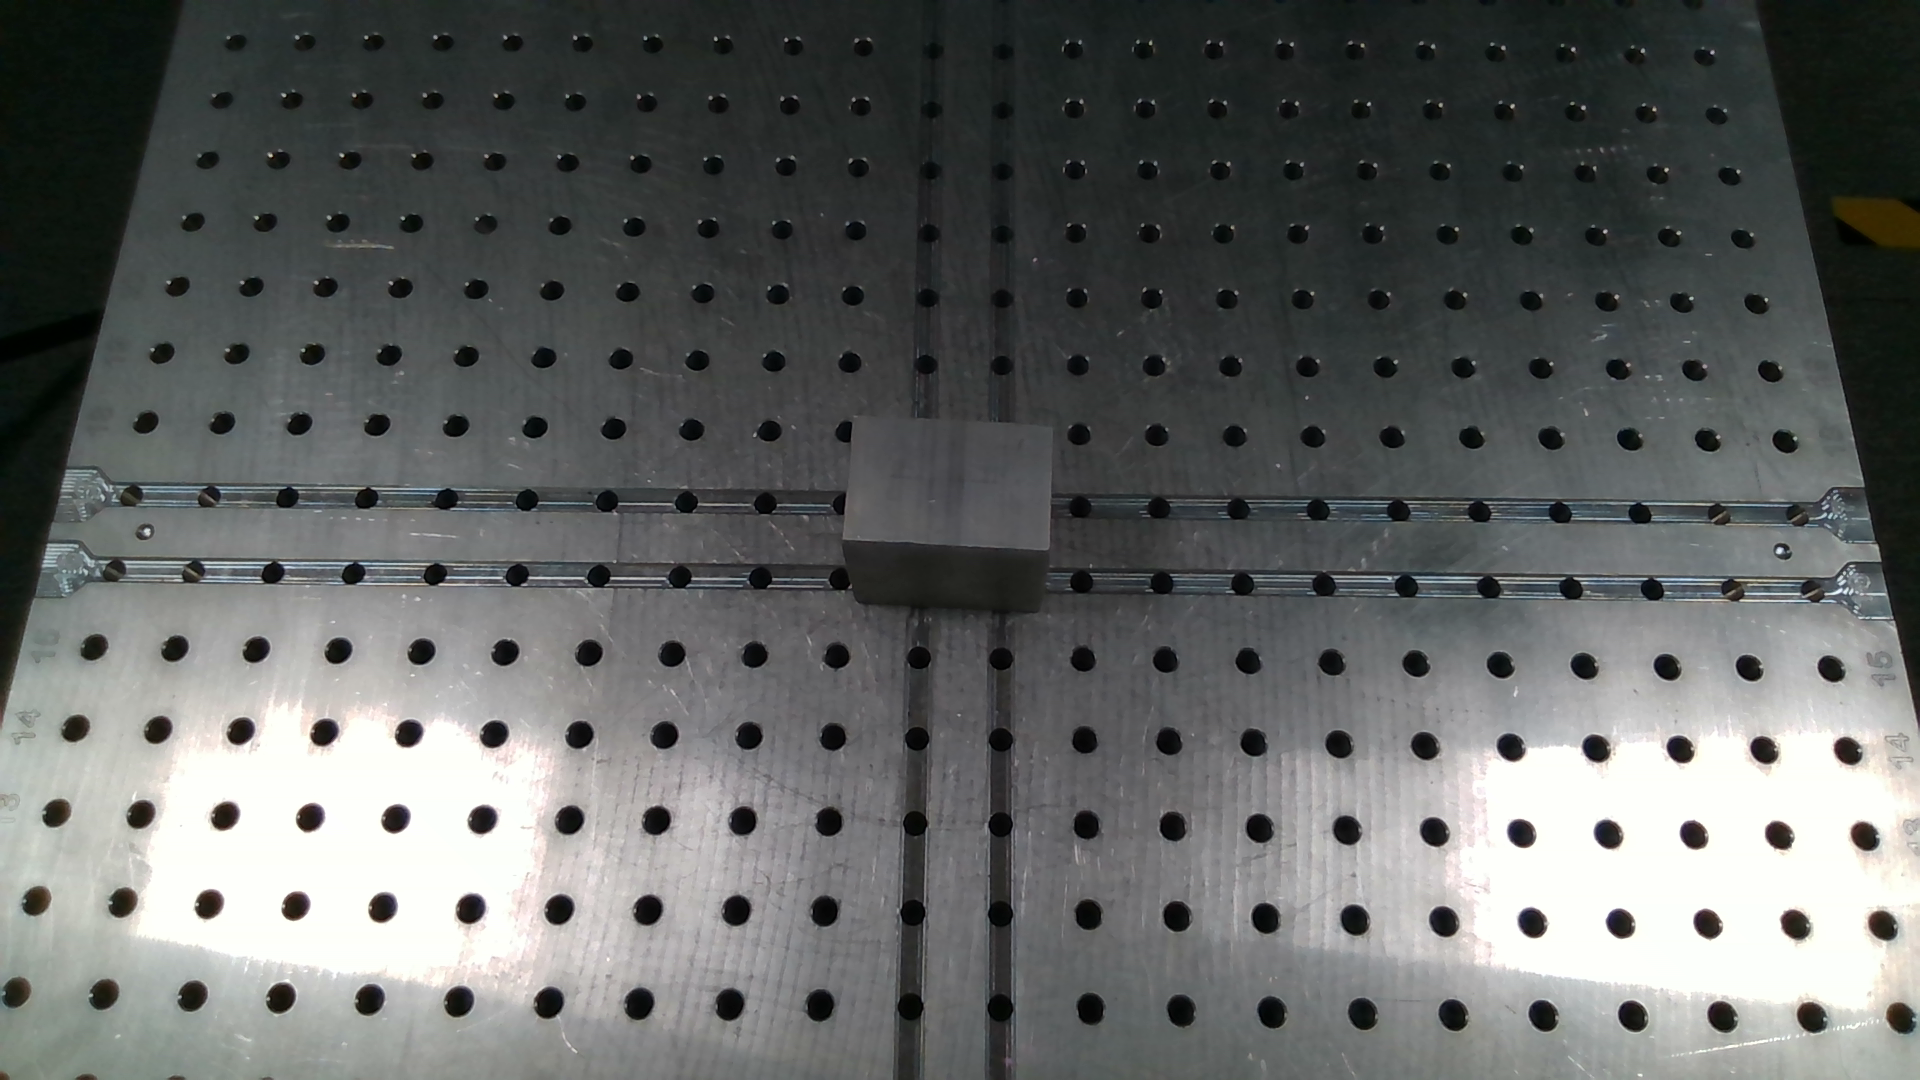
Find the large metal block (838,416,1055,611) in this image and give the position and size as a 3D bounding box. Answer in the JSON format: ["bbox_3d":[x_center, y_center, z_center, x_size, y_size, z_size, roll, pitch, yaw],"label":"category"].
[{"bbox_3d":[-0.005,-0.009,0.564,0.080,0.080,0.050,3,70,1],"label":"large metal block"}]
